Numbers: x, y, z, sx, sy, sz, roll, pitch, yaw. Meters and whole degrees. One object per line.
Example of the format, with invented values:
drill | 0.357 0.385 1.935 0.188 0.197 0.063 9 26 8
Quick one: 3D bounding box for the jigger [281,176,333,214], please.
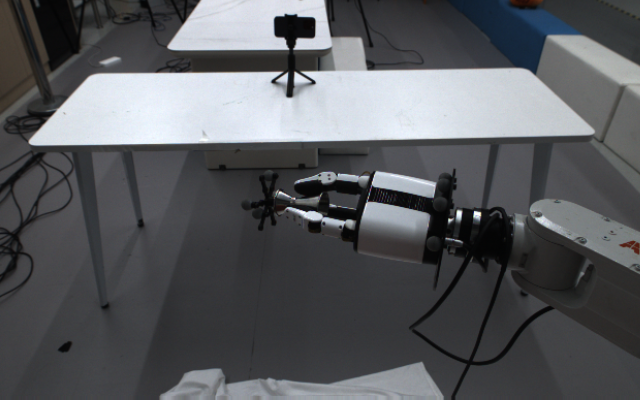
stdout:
jigger | -0.018 0.000 0.673 0.071 0.043 0.043 5 34 20
